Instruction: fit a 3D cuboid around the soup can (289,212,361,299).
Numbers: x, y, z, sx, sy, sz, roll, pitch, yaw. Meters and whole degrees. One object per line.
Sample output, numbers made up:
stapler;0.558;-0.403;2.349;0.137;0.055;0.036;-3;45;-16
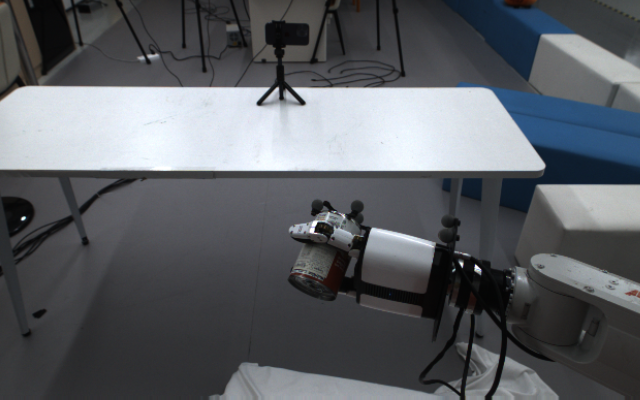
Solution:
soup can;0.009;0.073;0.642;0.067;0.067;0.101;15;63;18
